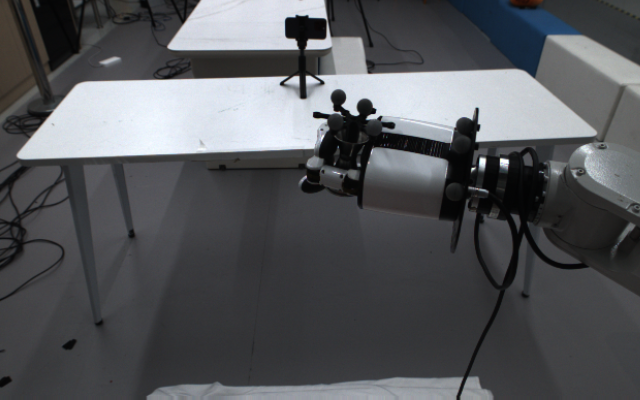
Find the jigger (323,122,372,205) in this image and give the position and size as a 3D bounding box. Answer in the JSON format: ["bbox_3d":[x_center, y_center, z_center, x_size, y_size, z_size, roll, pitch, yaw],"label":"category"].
[{"bbox_3d":[0.032,-0.043,0.554,0.043,0.071,0.043,7,32,-4],"label":"jigger"}]
